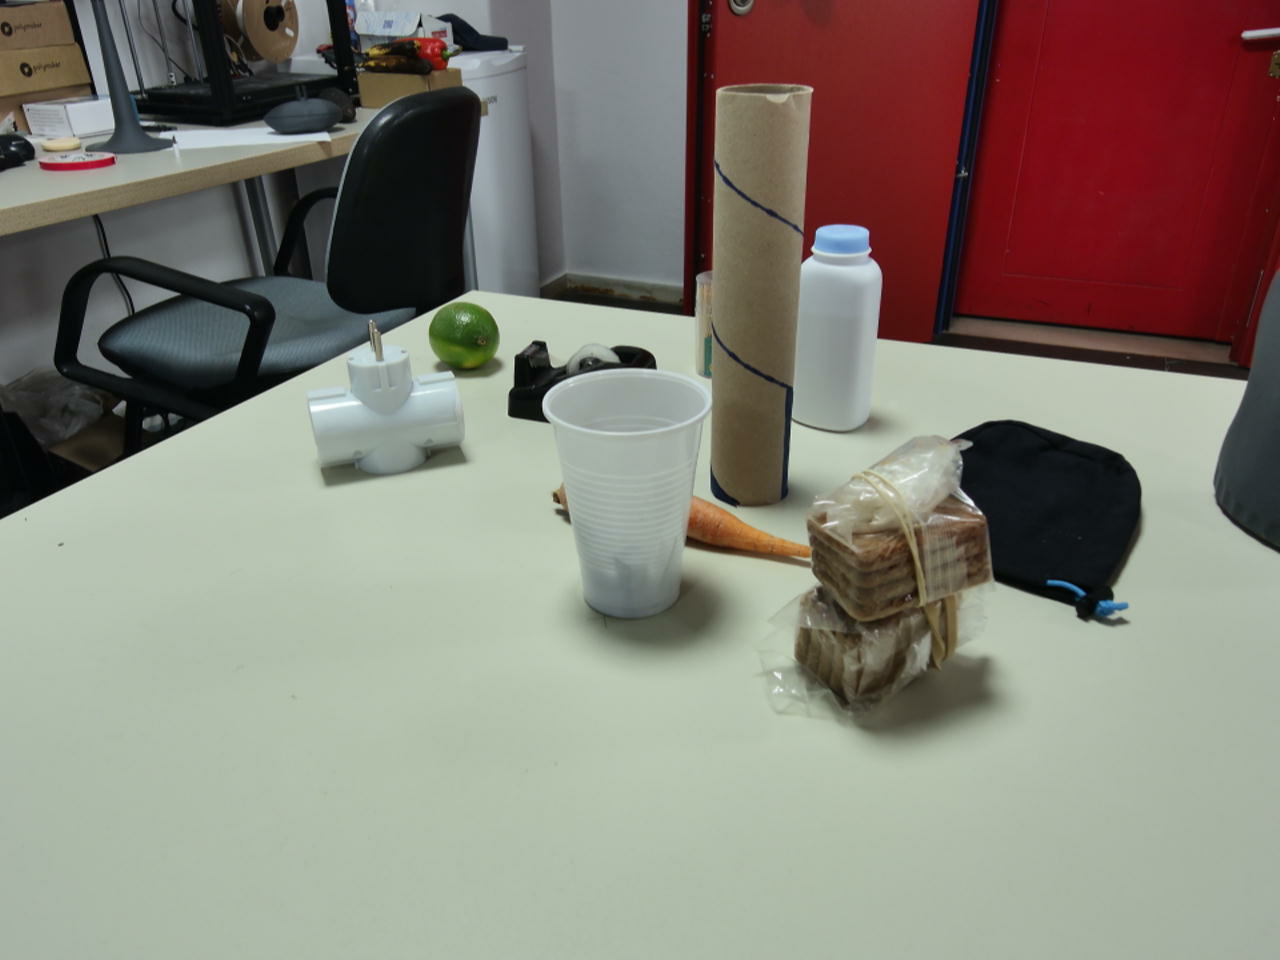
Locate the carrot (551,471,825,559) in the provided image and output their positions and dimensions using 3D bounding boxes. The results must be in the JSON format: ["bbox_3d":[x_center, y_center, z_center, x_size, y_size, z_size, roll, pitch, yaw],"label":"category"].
[{"bbox_3d":[0.024,0.019,0.555,0.163,0.029,0.031,11,27,22],"label":"carrot"}]
